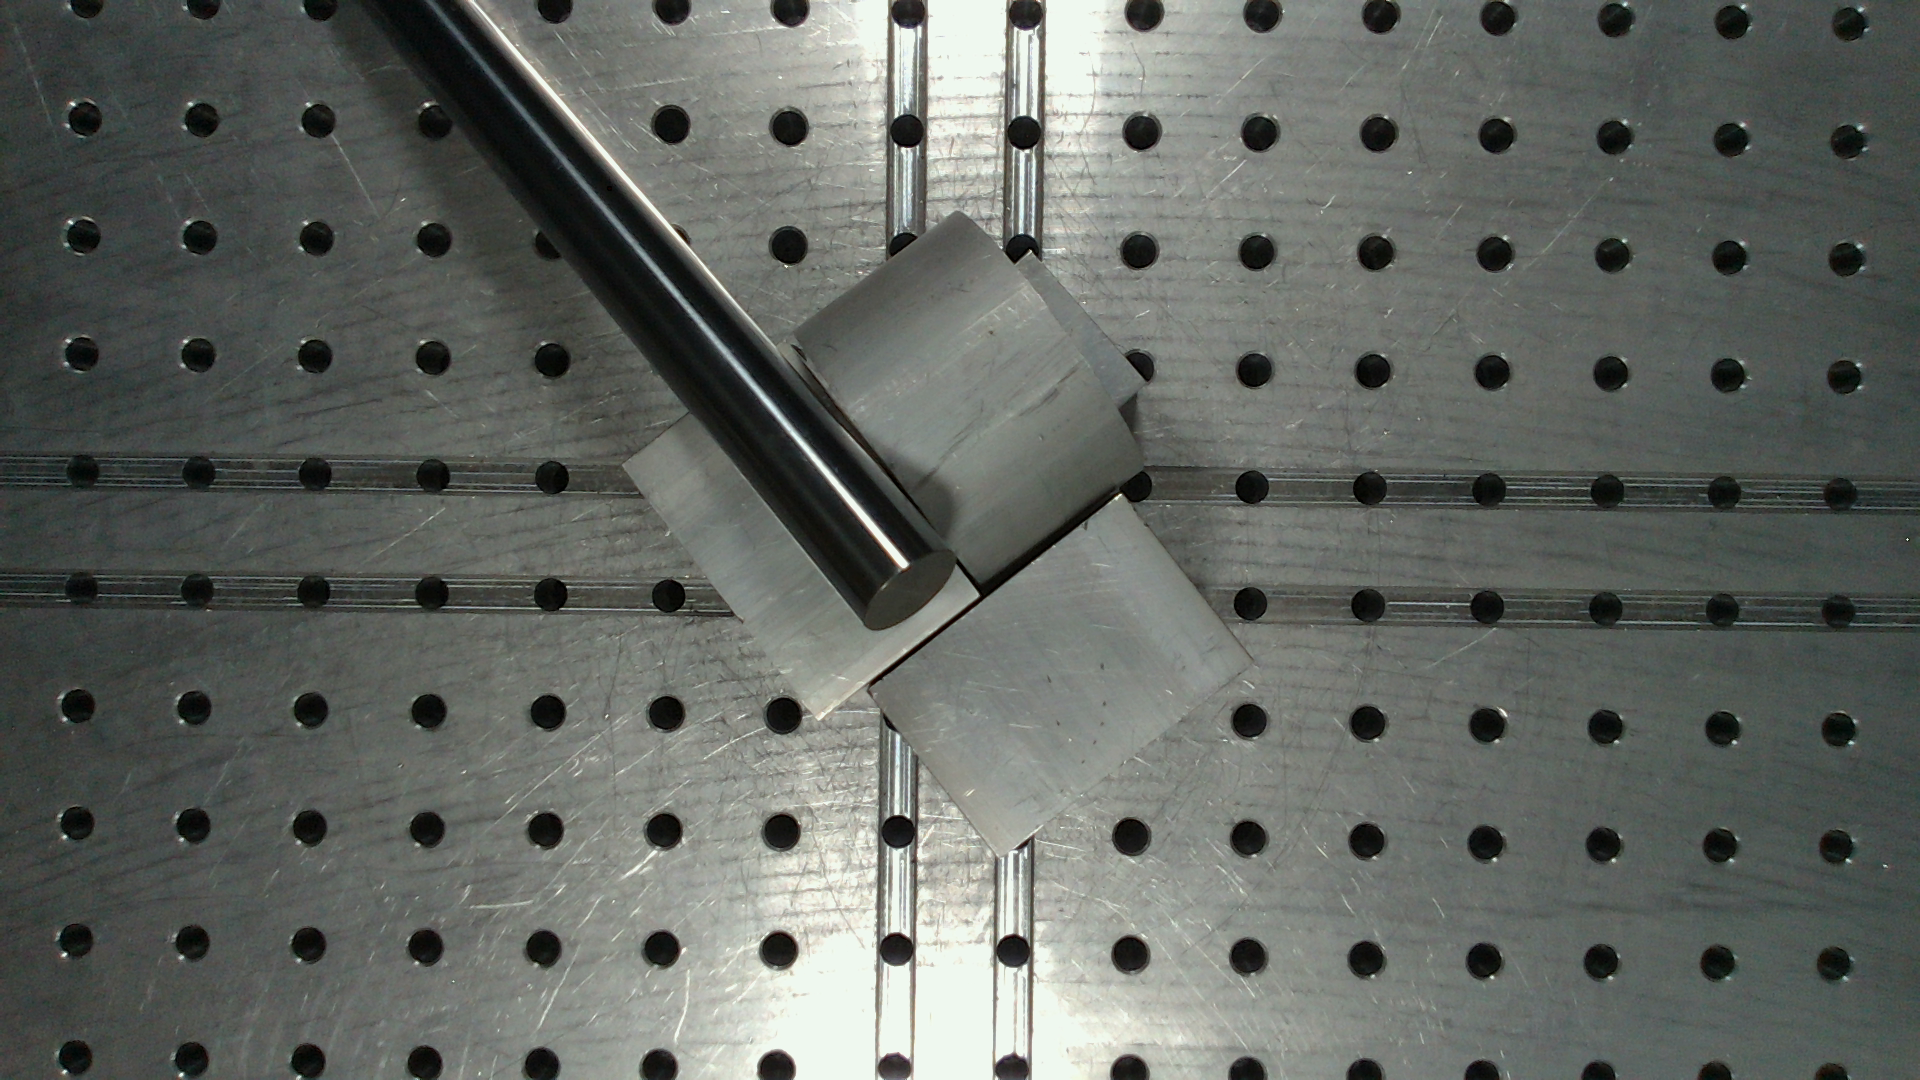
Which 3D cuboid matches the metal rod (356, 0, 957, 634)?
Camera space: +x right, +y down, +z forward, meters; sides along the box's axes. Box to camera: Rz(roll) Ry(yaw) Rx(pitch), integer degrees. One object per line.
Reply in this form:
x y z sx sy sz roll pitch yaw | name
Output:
-0.102 -0.094 0.345 0.025 0.025 0.299 -41 69 0 | metal rod

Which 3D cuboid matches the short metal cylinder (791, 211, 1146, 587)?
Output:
0.002 -0.035 0.345 0.050 0.080 0.080 -37 90 0 | short metal cylinder

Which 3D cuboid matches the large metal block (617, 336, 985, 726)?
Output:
-0.038 -0.002 0.371 0.050 0.080 0.080 -38 90 0 | large metal block

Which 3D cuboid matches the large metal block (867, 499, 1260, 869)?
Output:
0.025 0.034 0.369 0.080 0.080 0.050 -38 90 0 | large metal block

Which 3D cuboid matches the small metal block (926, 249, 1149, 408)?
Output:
0.018 -0.046 0.398 0.050 0.025 0.050 -42 90 0 | small metal block
